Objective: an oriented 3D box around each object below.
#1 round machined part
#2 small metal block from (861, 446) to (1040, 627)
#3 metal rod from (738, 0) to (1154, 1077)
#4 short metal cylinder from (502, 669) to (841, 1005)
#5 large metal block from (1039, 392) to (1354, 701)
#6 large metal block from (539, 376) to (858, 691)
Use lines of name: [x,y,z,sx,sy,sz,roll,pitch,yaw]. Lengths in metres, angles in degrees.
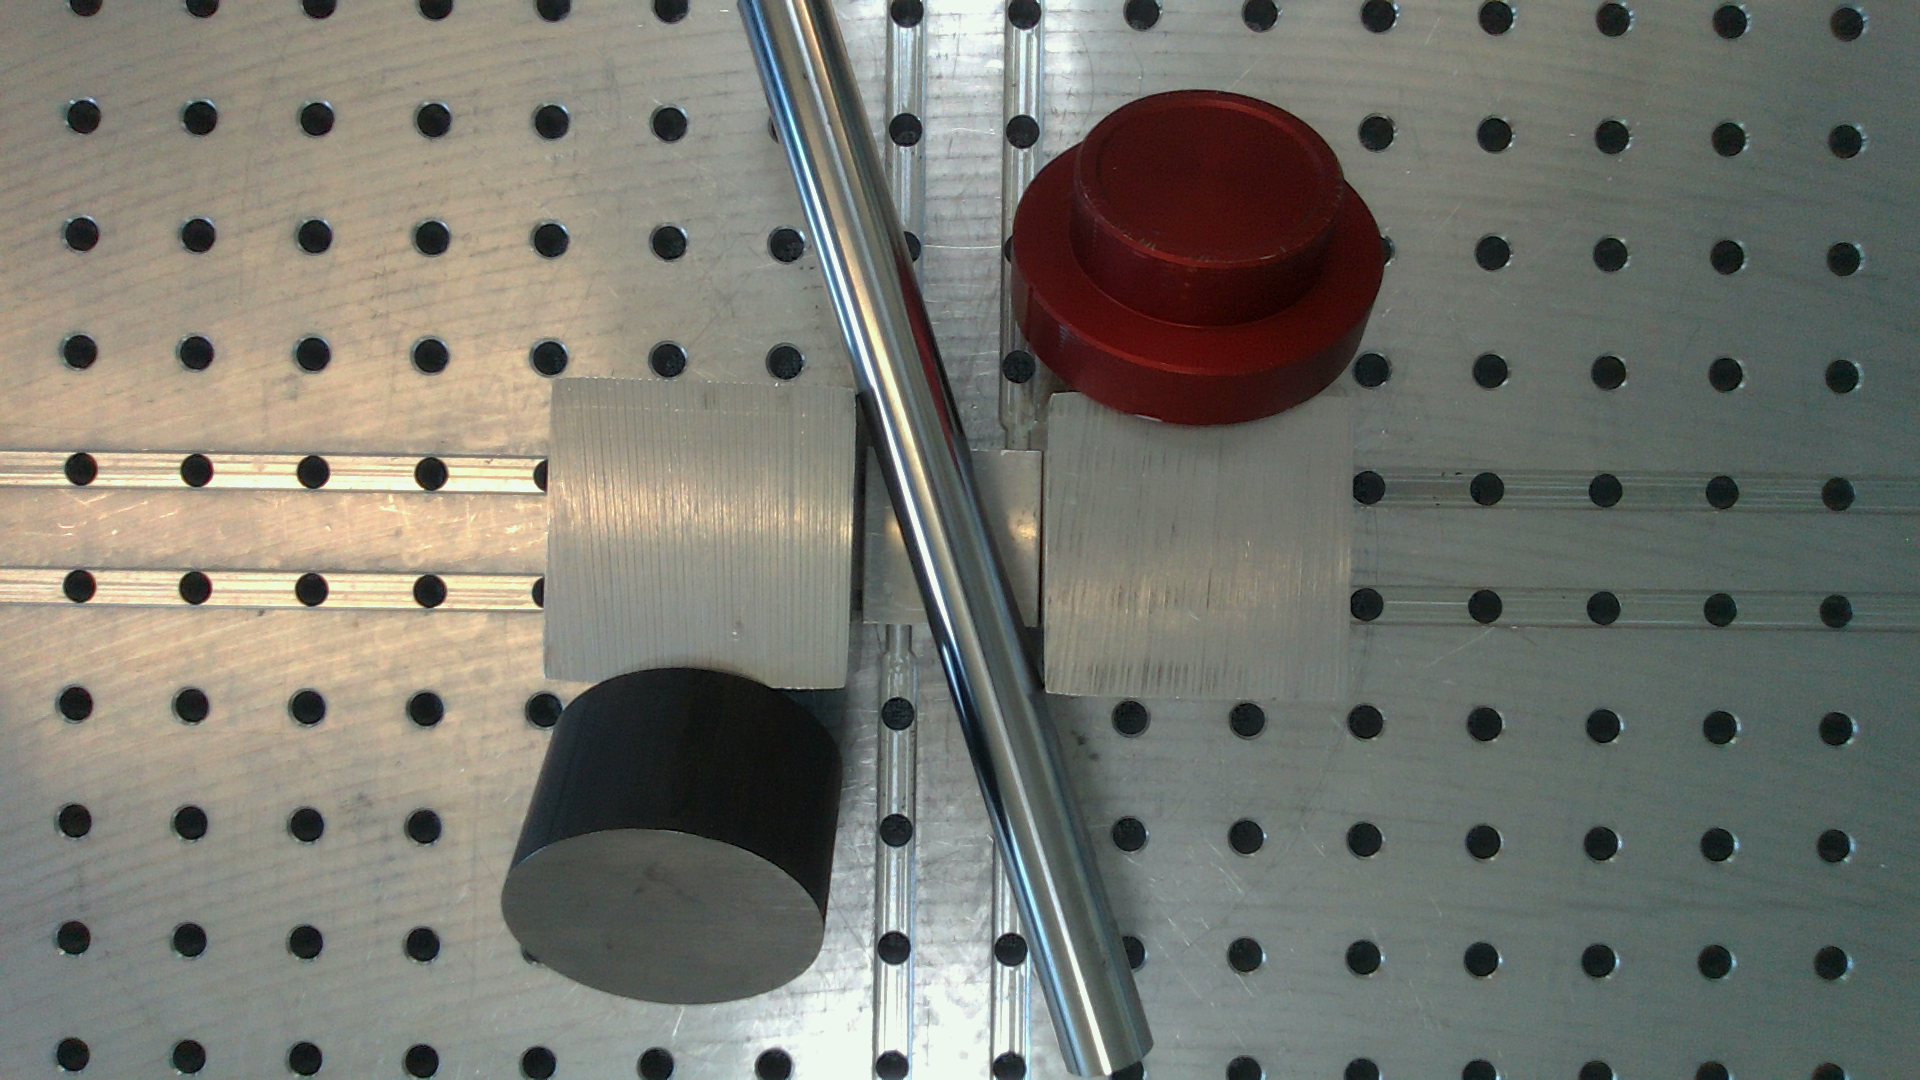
round machined part: [0.063,-0.081,0.364,0.098,0.042,0.098,0,55,0]
small metal block: [-0.002,-0.001,0.398,0.050,0.025,0.050,1,90,0]
metal rod: [-0.004,-0.004,0.371,0.025,0.025,0.300,-17,90,0]
short metal cylinder: [-0.074,0.080,0.364,0.080,0.050,0.080,1,133,1]
large metal block: [0.063,0.002,0.386,0.080,0.050,0.080,1,90,0]
large metal block: [-0.069,-0.002,0.385,0.080,0.050,0.080,2,90,0]
